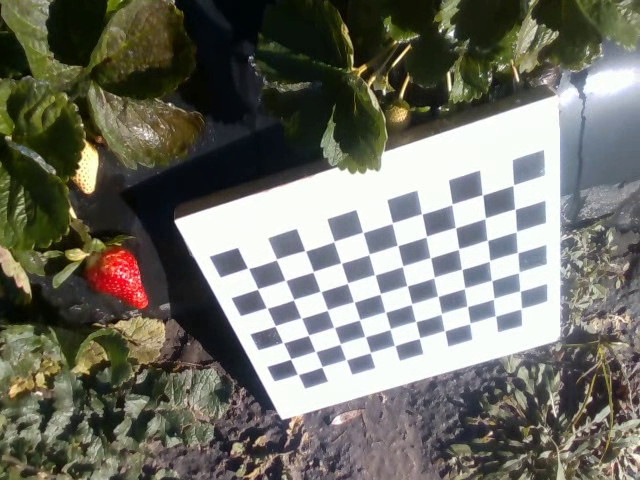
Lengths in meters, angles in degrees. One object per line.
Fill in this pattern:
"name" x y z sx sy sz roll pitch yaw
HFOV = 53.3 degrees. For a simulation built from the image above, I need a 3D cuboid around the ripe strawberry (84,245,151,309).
"ripe strawberry" -0.157 0.032 0.494 0.048 0.069 0.040 -31 31 16
